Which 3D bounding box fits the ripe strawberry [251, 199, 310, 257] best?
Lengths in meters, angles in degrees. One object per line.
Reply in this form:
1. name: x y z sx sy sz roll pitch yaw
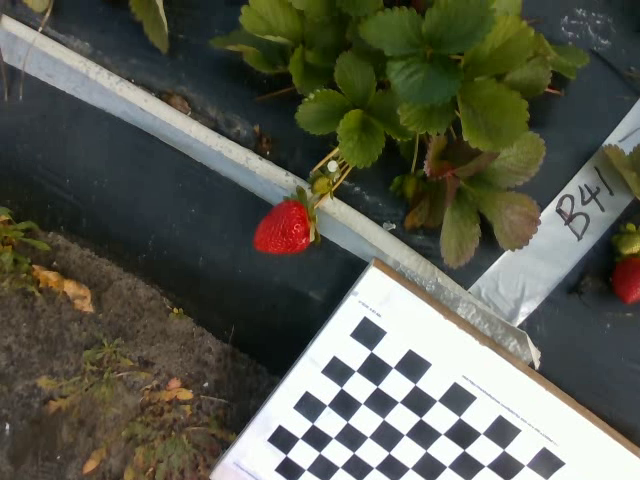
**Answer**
1. ripe strawberry: -0.030 -0.007 0.431 0.053 0.048 0.030 -21 15 -7
